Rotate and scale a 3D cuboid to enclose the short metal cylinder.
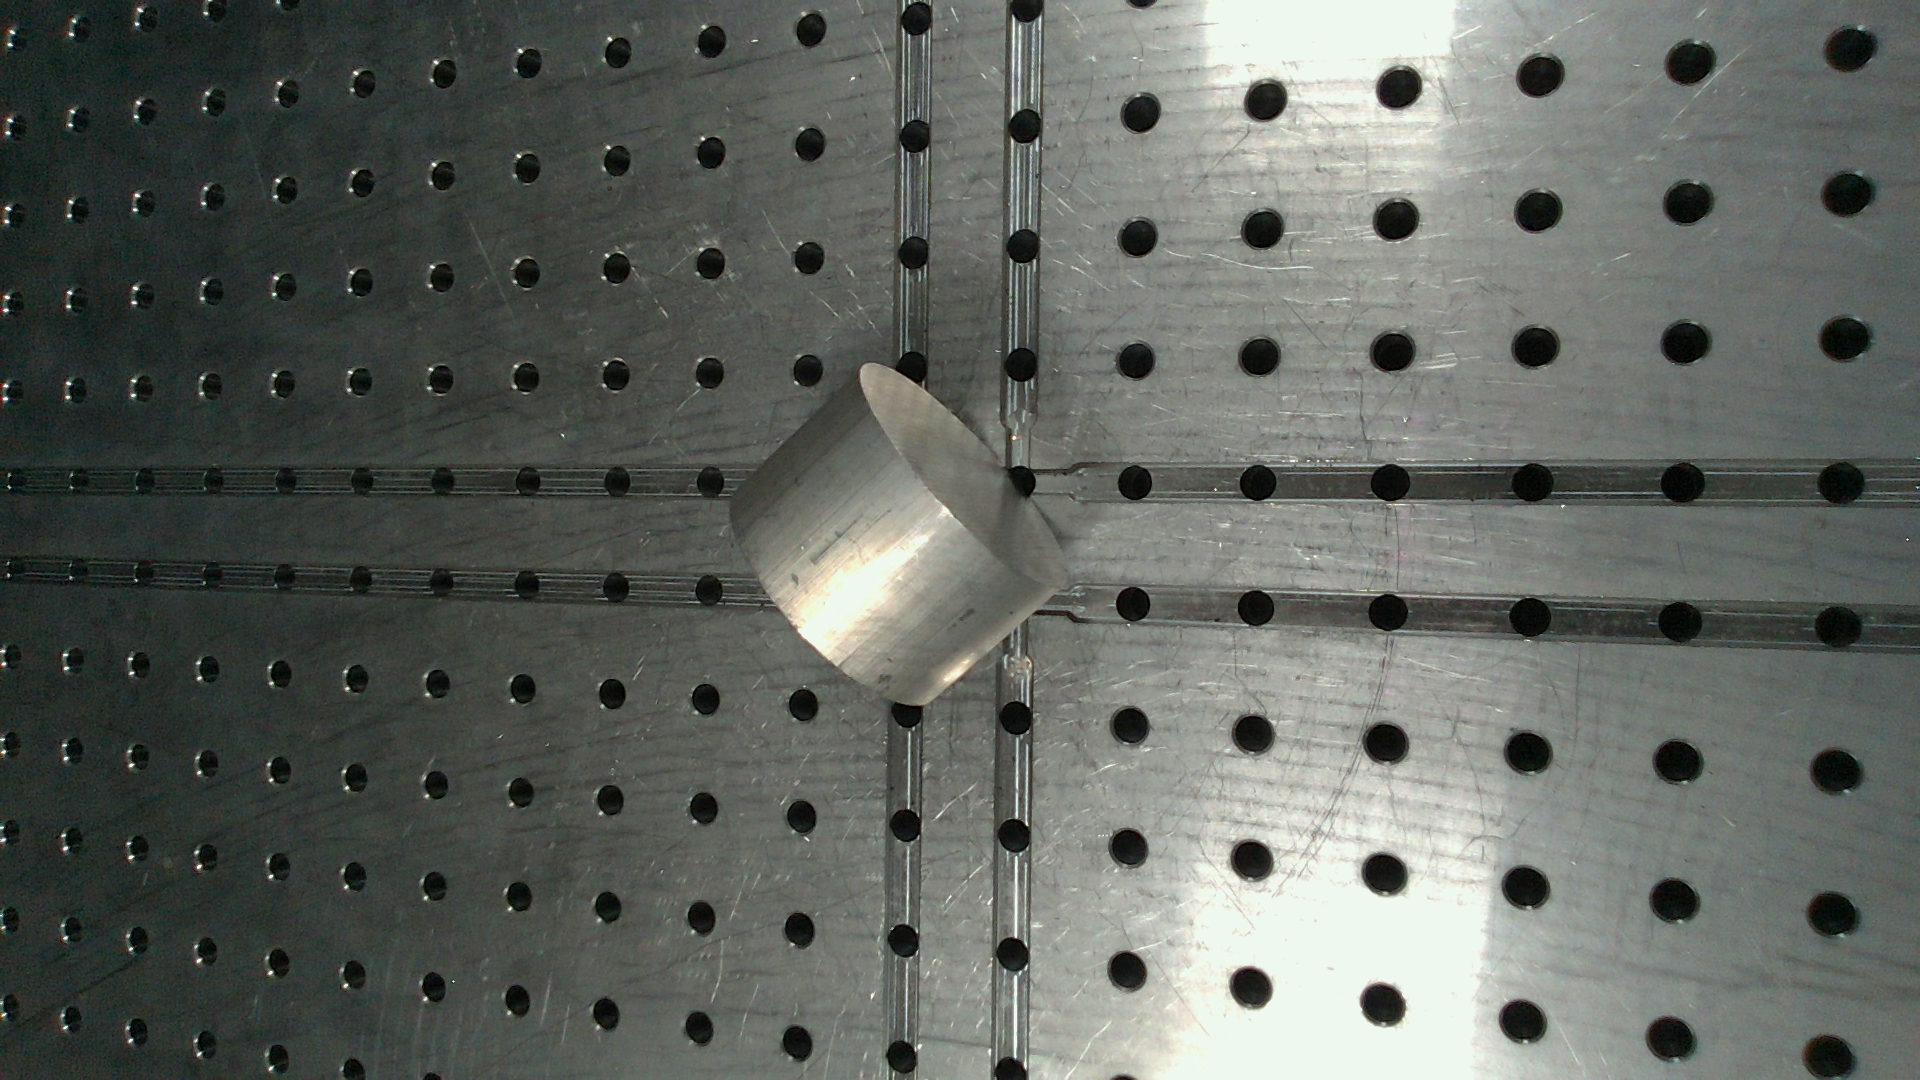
[{"bbox_3d":[-0.016,-0.002,0.374,0.050,0.080,0.080,-42,77,15],"label":"short metal cylinder"}]
